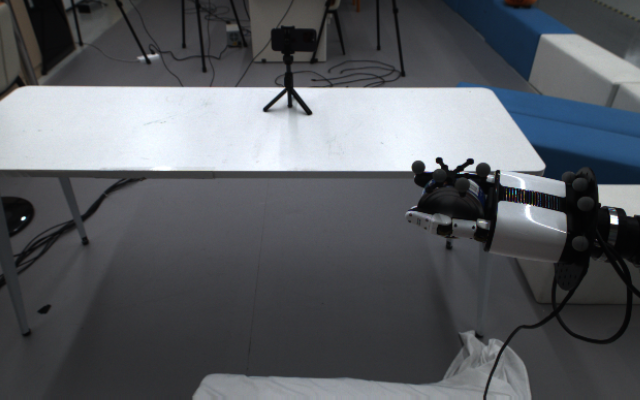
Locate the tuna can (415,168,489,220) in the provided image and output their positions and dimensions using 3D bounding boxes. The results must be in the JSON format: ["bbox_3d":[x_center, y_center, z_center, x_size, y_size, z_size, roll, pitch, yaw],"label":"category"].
[{"bbox_3d":[0.176,0.005,0.644,0.085,0.085,0.034,14,41,16],"label":"tuna can"}]
